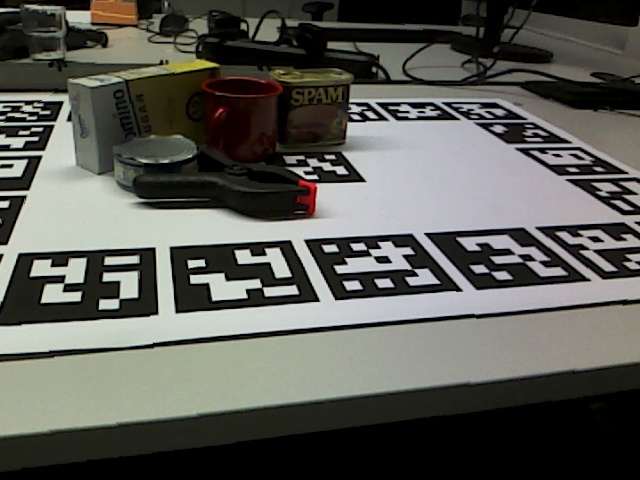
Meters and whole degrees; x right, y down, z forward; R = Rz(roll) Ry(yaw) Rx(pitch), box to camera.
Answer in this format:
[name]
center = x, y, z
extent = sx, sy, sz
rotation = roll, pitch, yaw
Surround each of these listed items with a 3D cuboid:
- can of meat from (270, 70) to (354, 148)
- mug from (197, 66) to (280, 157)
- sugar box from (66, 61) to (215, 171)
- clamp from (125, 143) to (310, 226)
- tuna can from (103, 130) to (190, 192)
[can of meat]
center = -0.014, -0.164, 0.774
extent = 0.101, 0.083, 0.058
rotation = -5, 29, -22
[mug]
center = -0.098, -0.142, 0.703
extent = 0.093, 0.081, 0.117
rotation = 11, 31, 8
[sugar box]
center = -0.191, -0.144, 0.695
extent = 0.045, 0.093, 0.175
rotation = 23, 32, 31
[clamp]
center = -0.089, -0.052, 0.606
extent = 0.166, 0.036, 0.121
rotation = 19, 27, 14
[tuna can]
center = -0.176, -0.081, 0.632
extent = 0.086, 0.033, 0.086
rotation = 4, 31, -3
